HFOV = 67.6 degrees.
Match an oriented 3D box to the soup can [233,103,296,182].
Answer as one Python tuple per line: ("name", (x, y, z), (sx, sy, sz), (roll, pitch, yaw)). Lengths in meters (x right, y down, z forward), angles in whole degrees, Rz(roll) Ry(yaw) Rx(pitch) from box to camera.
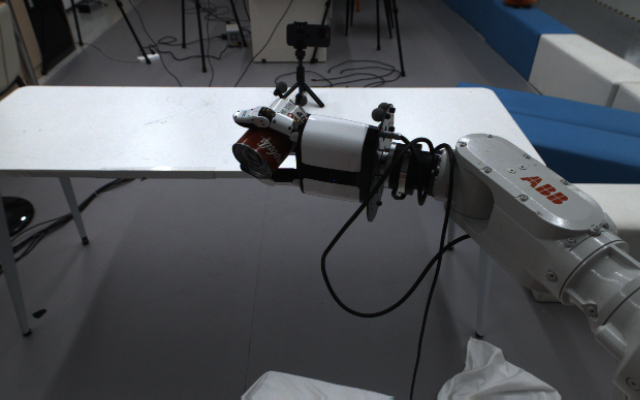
("soup can", (-0.067, -0.089, 0.685), (0.067, 0.067, 0.101), (22, 61, 27))
